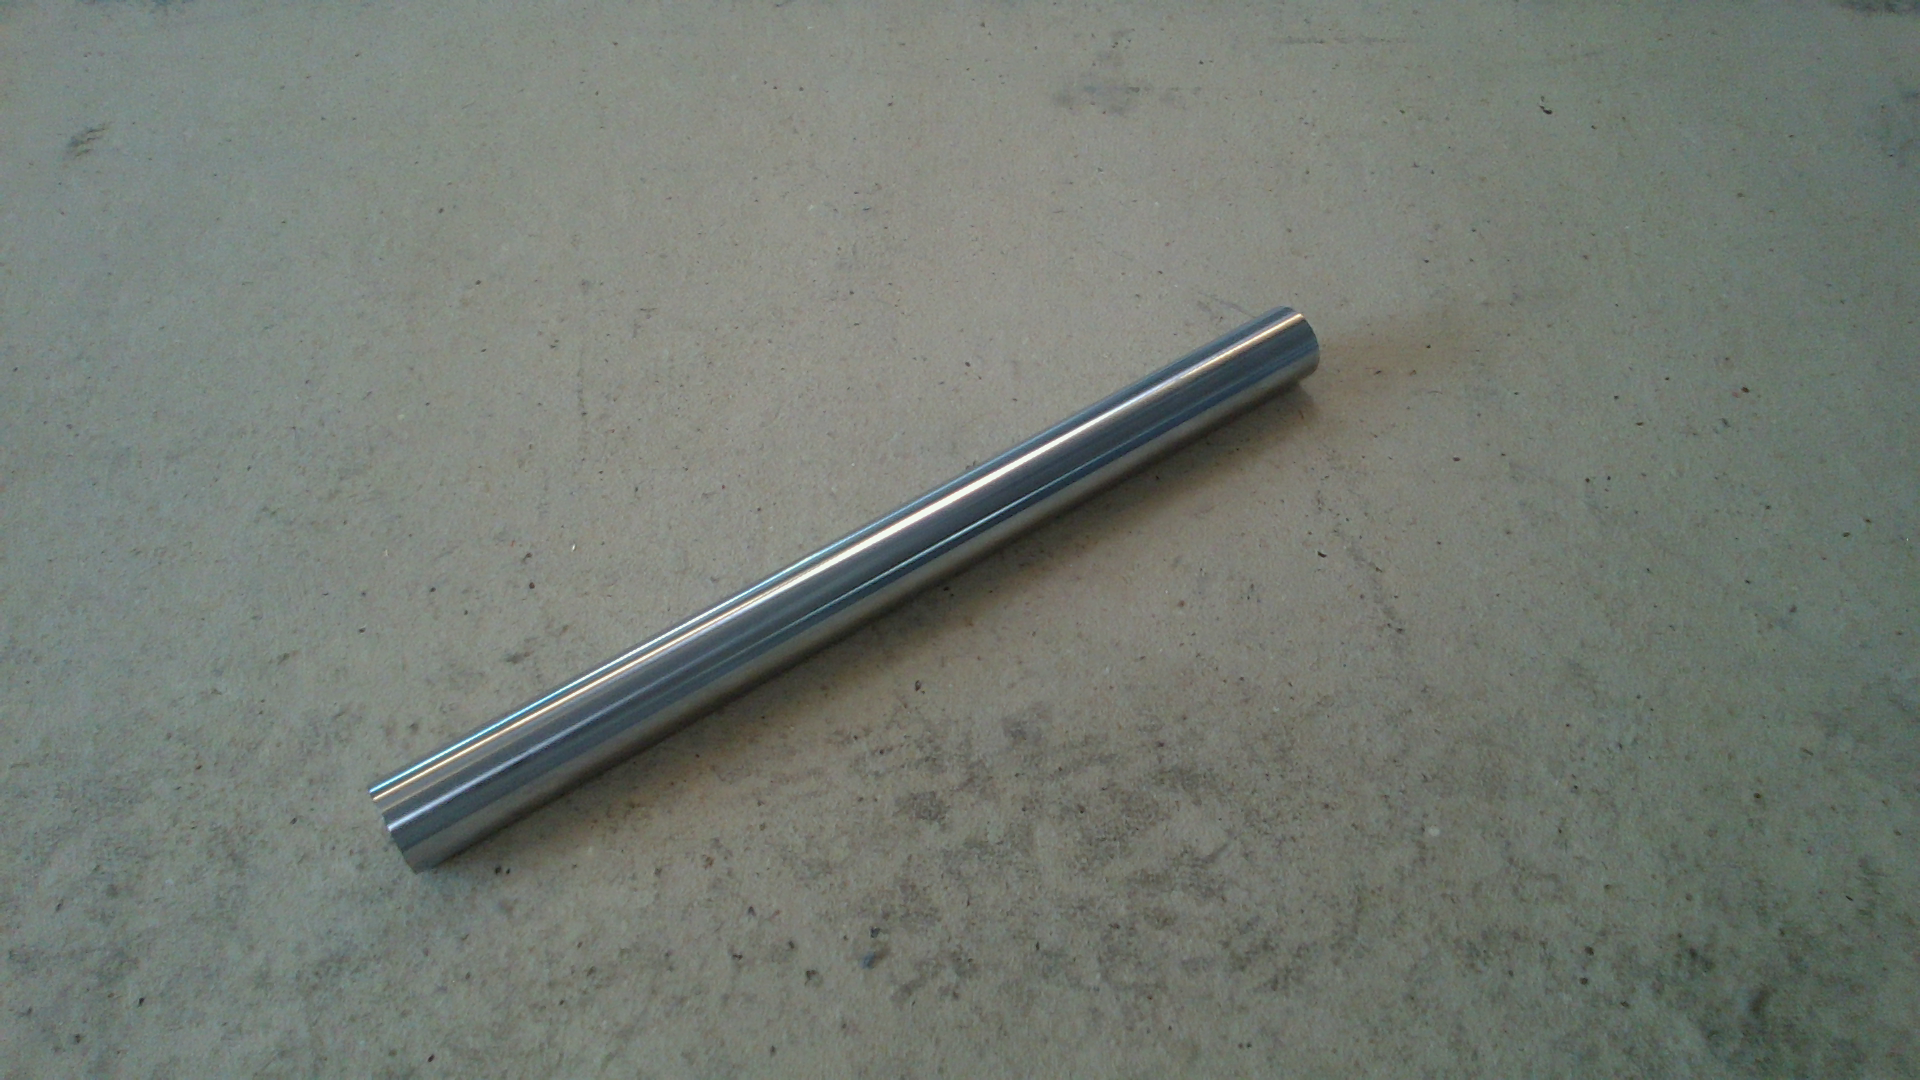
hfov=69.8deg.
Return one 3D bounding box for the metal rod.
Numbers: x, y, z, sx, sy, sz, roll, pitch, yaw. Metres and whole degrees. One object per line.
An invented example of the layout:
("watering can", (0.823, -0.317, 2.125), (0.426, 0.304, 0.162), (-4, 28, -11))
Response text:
("metal rod", (-0.016, 0.003, 0.389), (0.301, 0.025, 0.025), (-29, 55, -22))
